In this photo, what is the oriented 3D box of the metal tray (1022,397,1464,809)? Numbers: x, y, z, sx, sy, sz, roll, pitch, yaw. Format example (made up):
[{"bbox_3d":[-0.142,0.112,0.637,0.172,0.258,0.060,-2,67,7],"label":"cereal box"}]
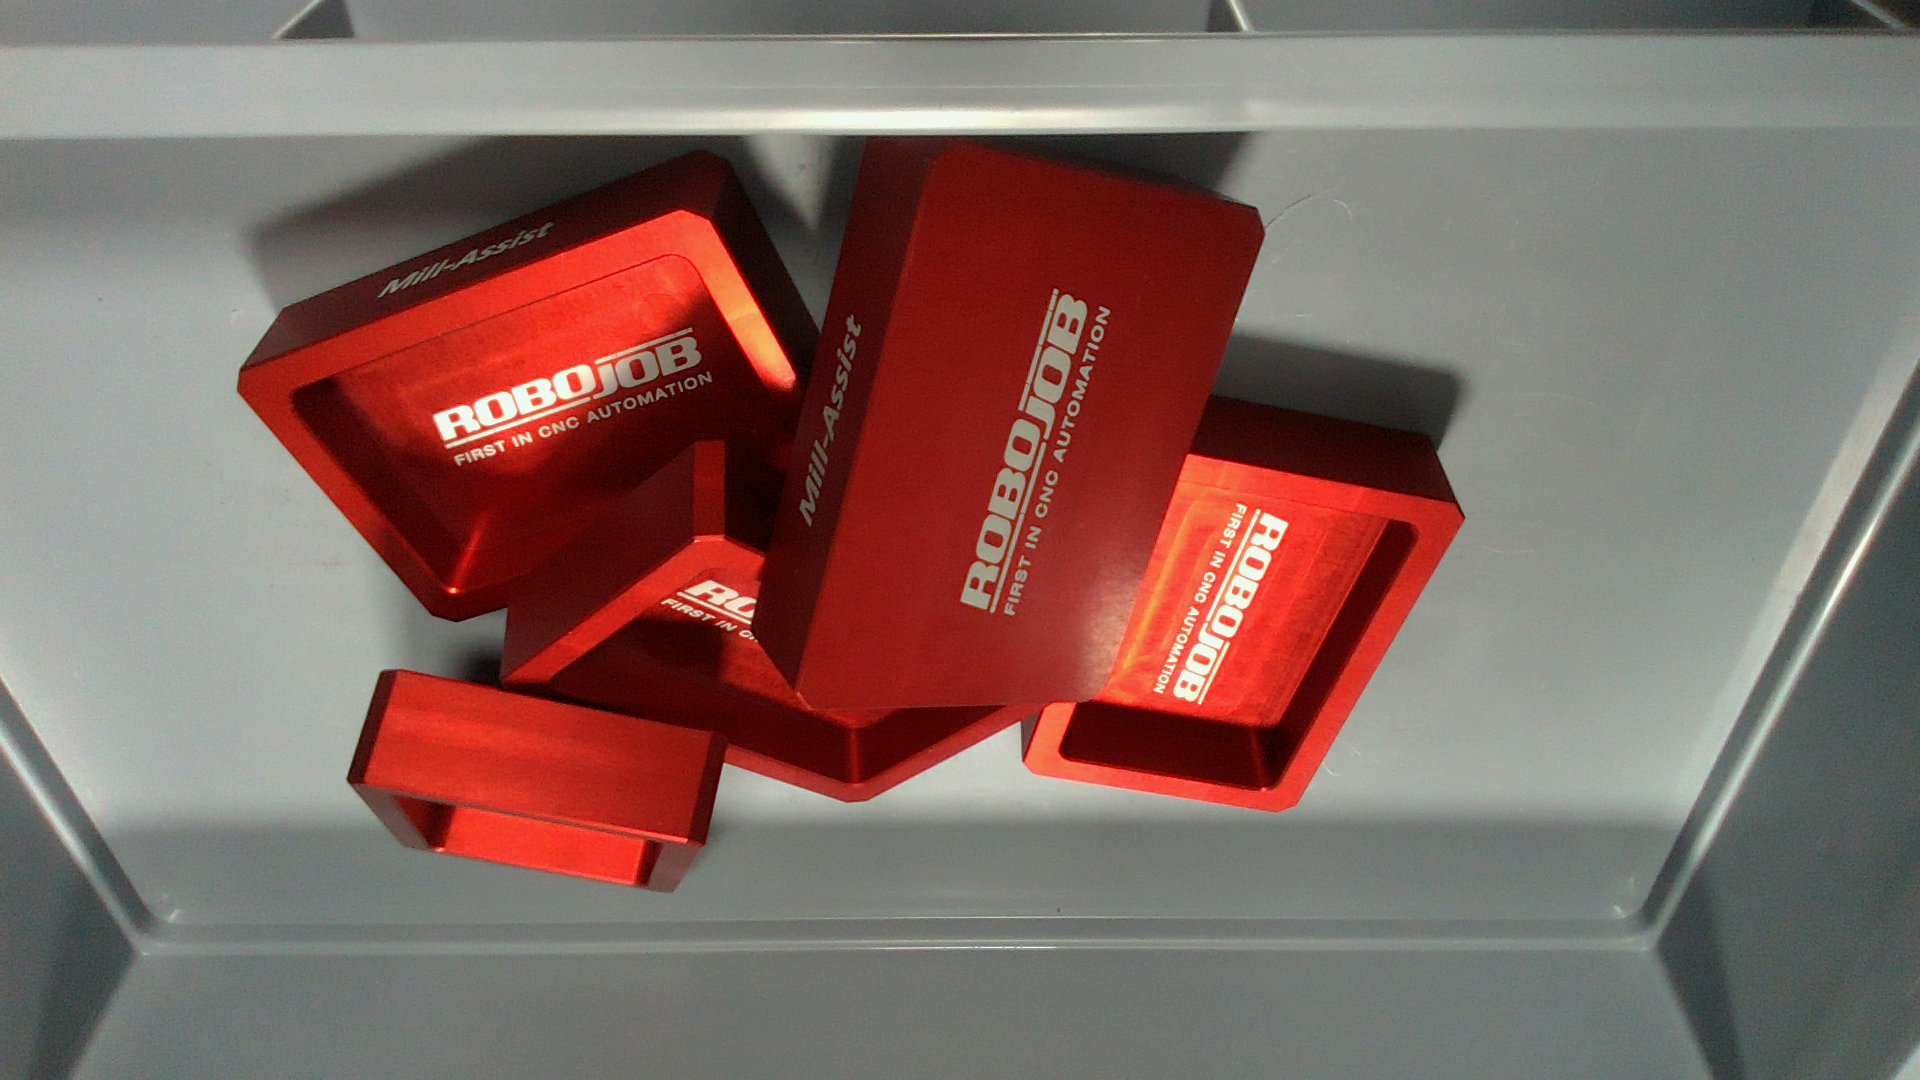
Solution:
[{"bbox_3d":[0.076,0.022,0.404,0.090,0.030,0.130,9,129,-8],"label":"metal tray"}]

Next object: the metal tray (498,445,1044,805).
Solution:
[{"bbox_3d":[-0.047,0.031,0.383,0.090,0.030,0.130,-32,138,32],"label":"metal tray"}]

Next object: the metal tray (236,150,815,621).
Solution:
[{"bbox_3d":[-0.102,-0.035,0.356,0.130,0.030,0.090,-16,128,13],"label":"metal tray"}]

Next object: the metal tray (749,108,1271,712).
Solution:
[{"bbox_3d":[0.010,-0.024,0.321,0.090,0.030,0.130,3,114,-33],"label":"metal tray"}]

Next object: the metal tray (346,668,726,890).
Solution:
[{"bbox_3d":[-0.124,0.077,0.412,0.090,0.030,0.130,13,157,-11],"label":"metal tray"}]
